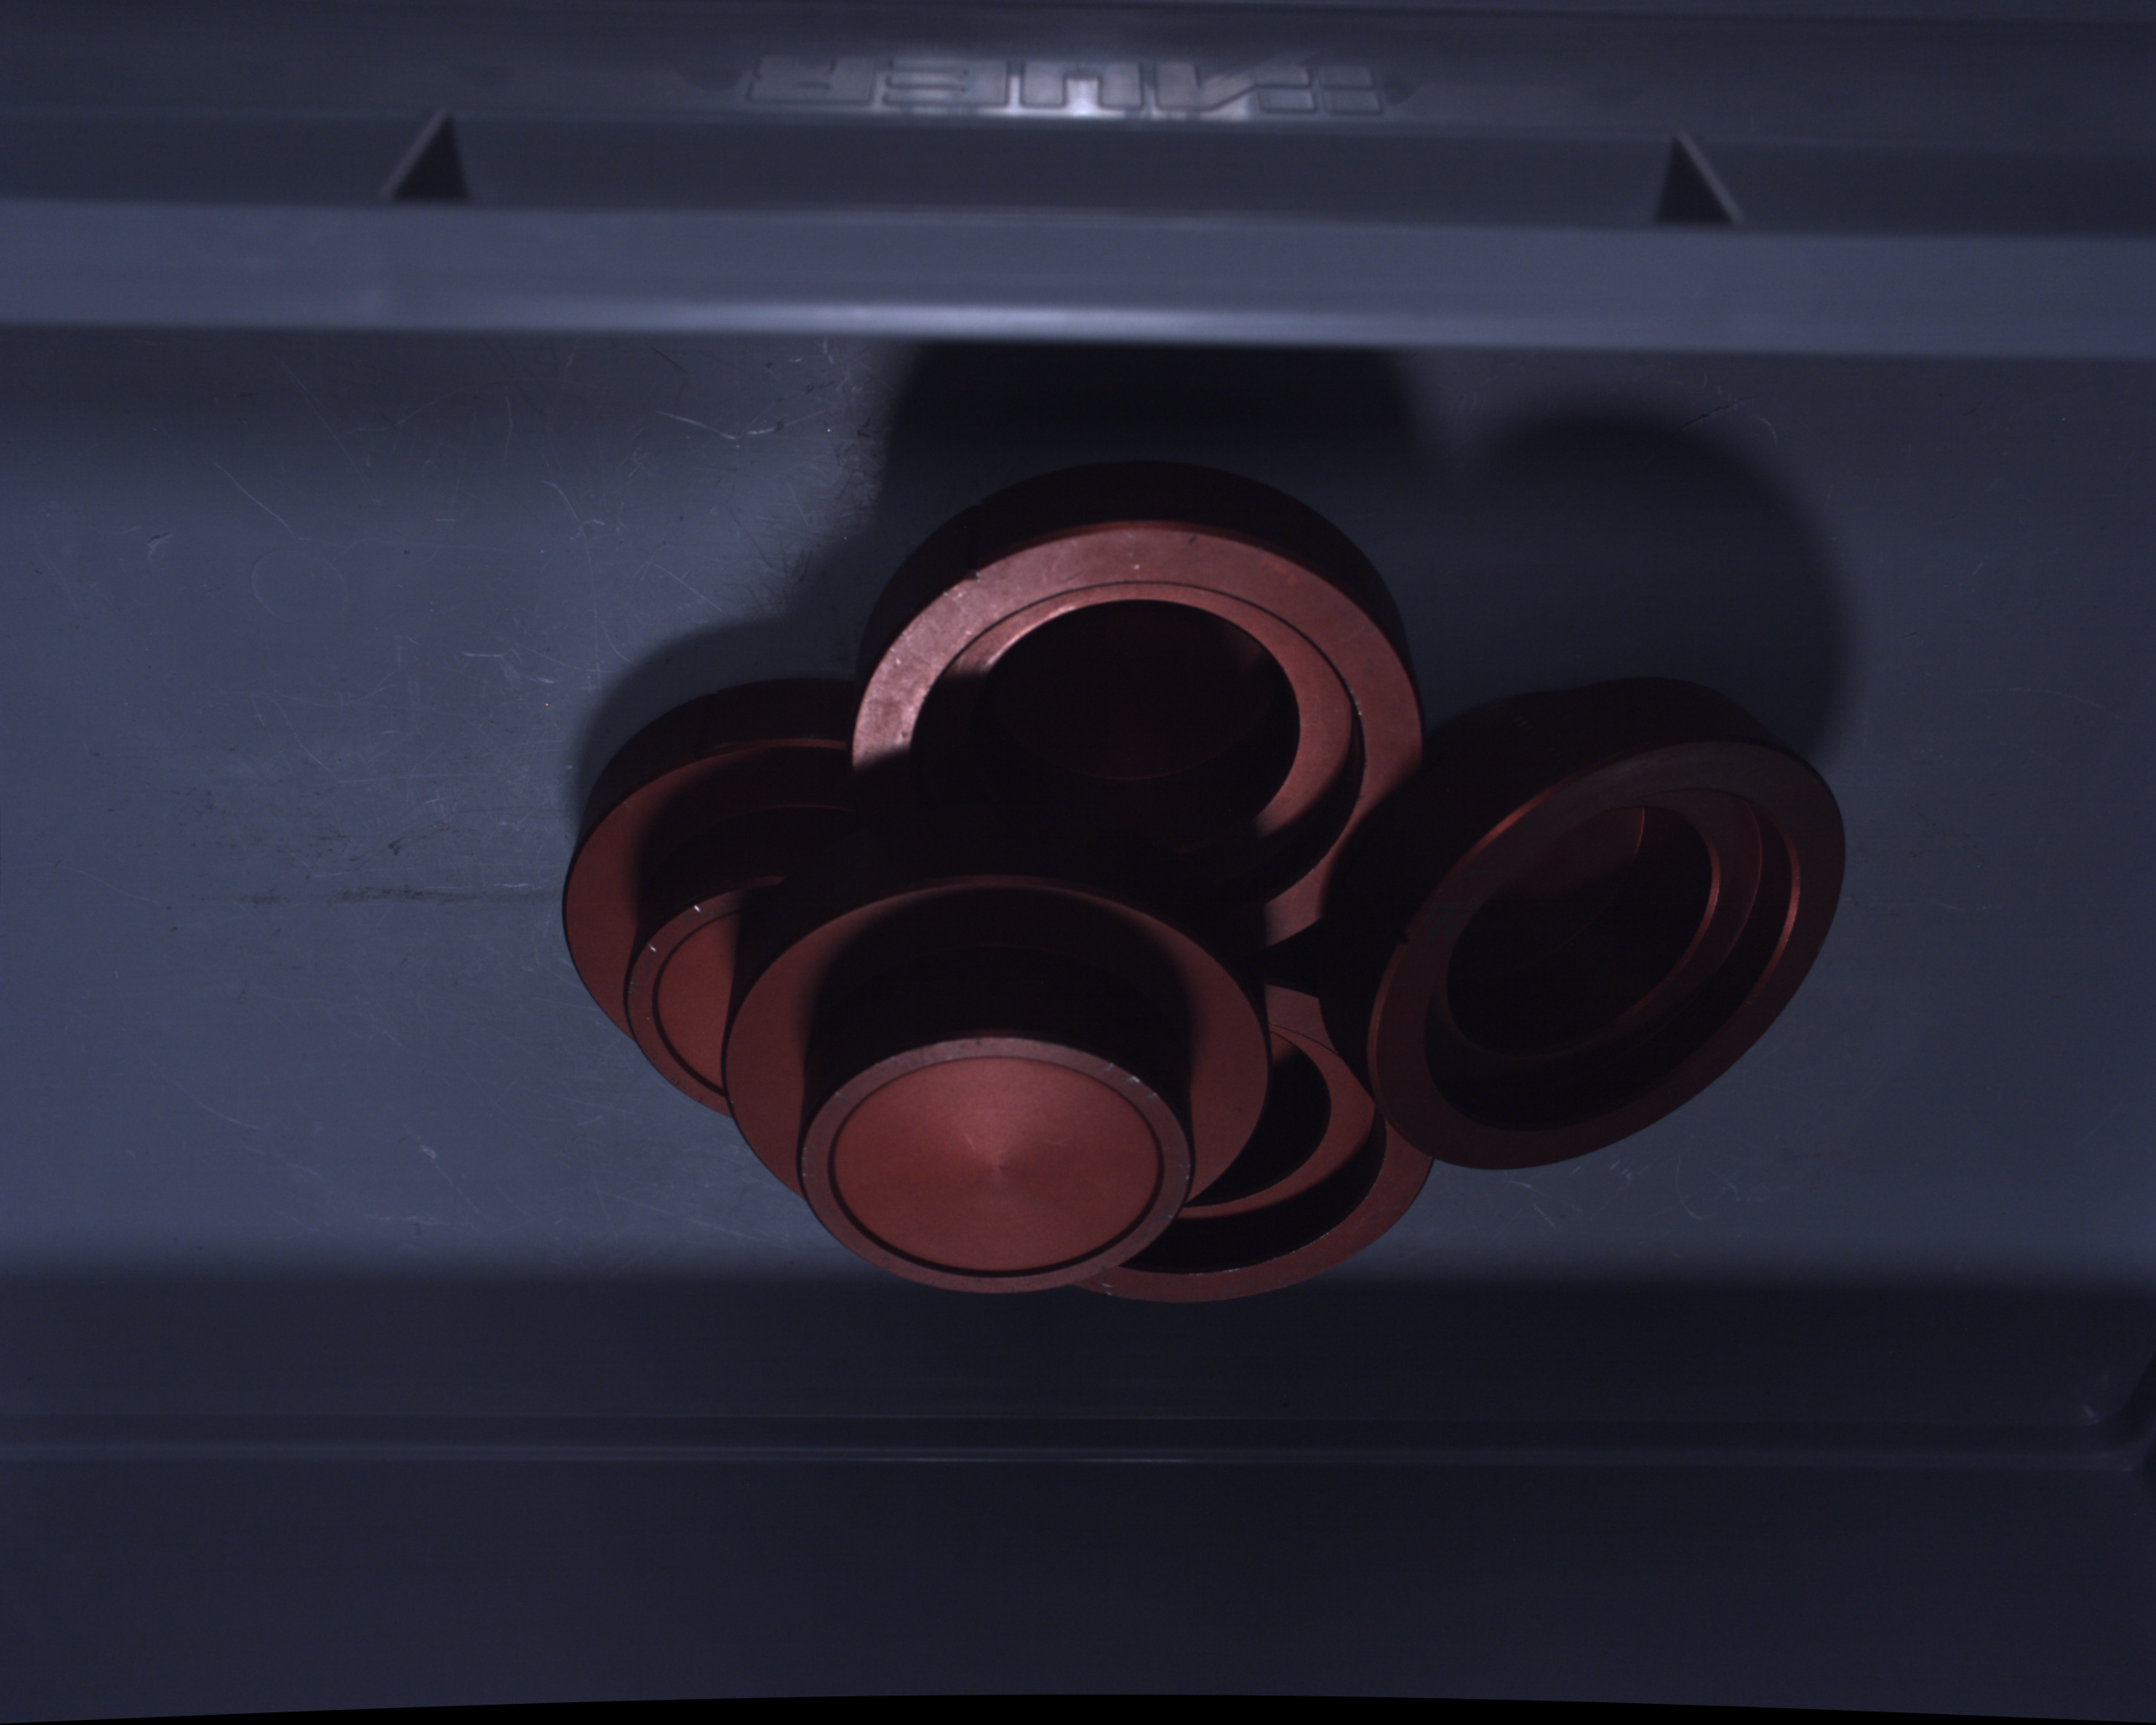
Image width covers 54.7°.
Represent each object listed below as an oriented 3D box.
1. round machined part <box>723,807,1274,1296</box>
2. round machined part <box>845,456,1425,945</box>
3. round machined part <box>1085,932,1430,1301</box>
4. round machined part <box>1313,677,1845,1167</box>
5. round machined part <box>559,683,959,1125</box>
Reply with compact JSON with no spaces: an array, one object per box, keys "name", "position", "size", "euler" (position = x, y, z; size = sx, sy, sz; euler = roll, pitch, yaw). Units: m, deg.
[{"name":"round machined part","position":[-0.014,0.040,0.373],"size":[0.099,0.042,0.097],"euler":[-1,130,0]},{"name":"round machined part","position":[0.010,-0.030,0.371],"size":[0.099,0.042,0.097],"euler":[-1,130,0]},{"name":"round machined part","position":[0.022,0.045,0.434],"size":[0.099,0.042,0.097],"euler":[-1,130,0]},{"name":"round machined part","position":[0.088,0.007,0.389],"size":[0.099,0.042,0.097],"euler":[-13,129,-16]},{"name":"round machined part","position":[-0.051,0.016,0.407],"size":[0.099,0.042,0.097],"euler":[-1,130,0]}]
